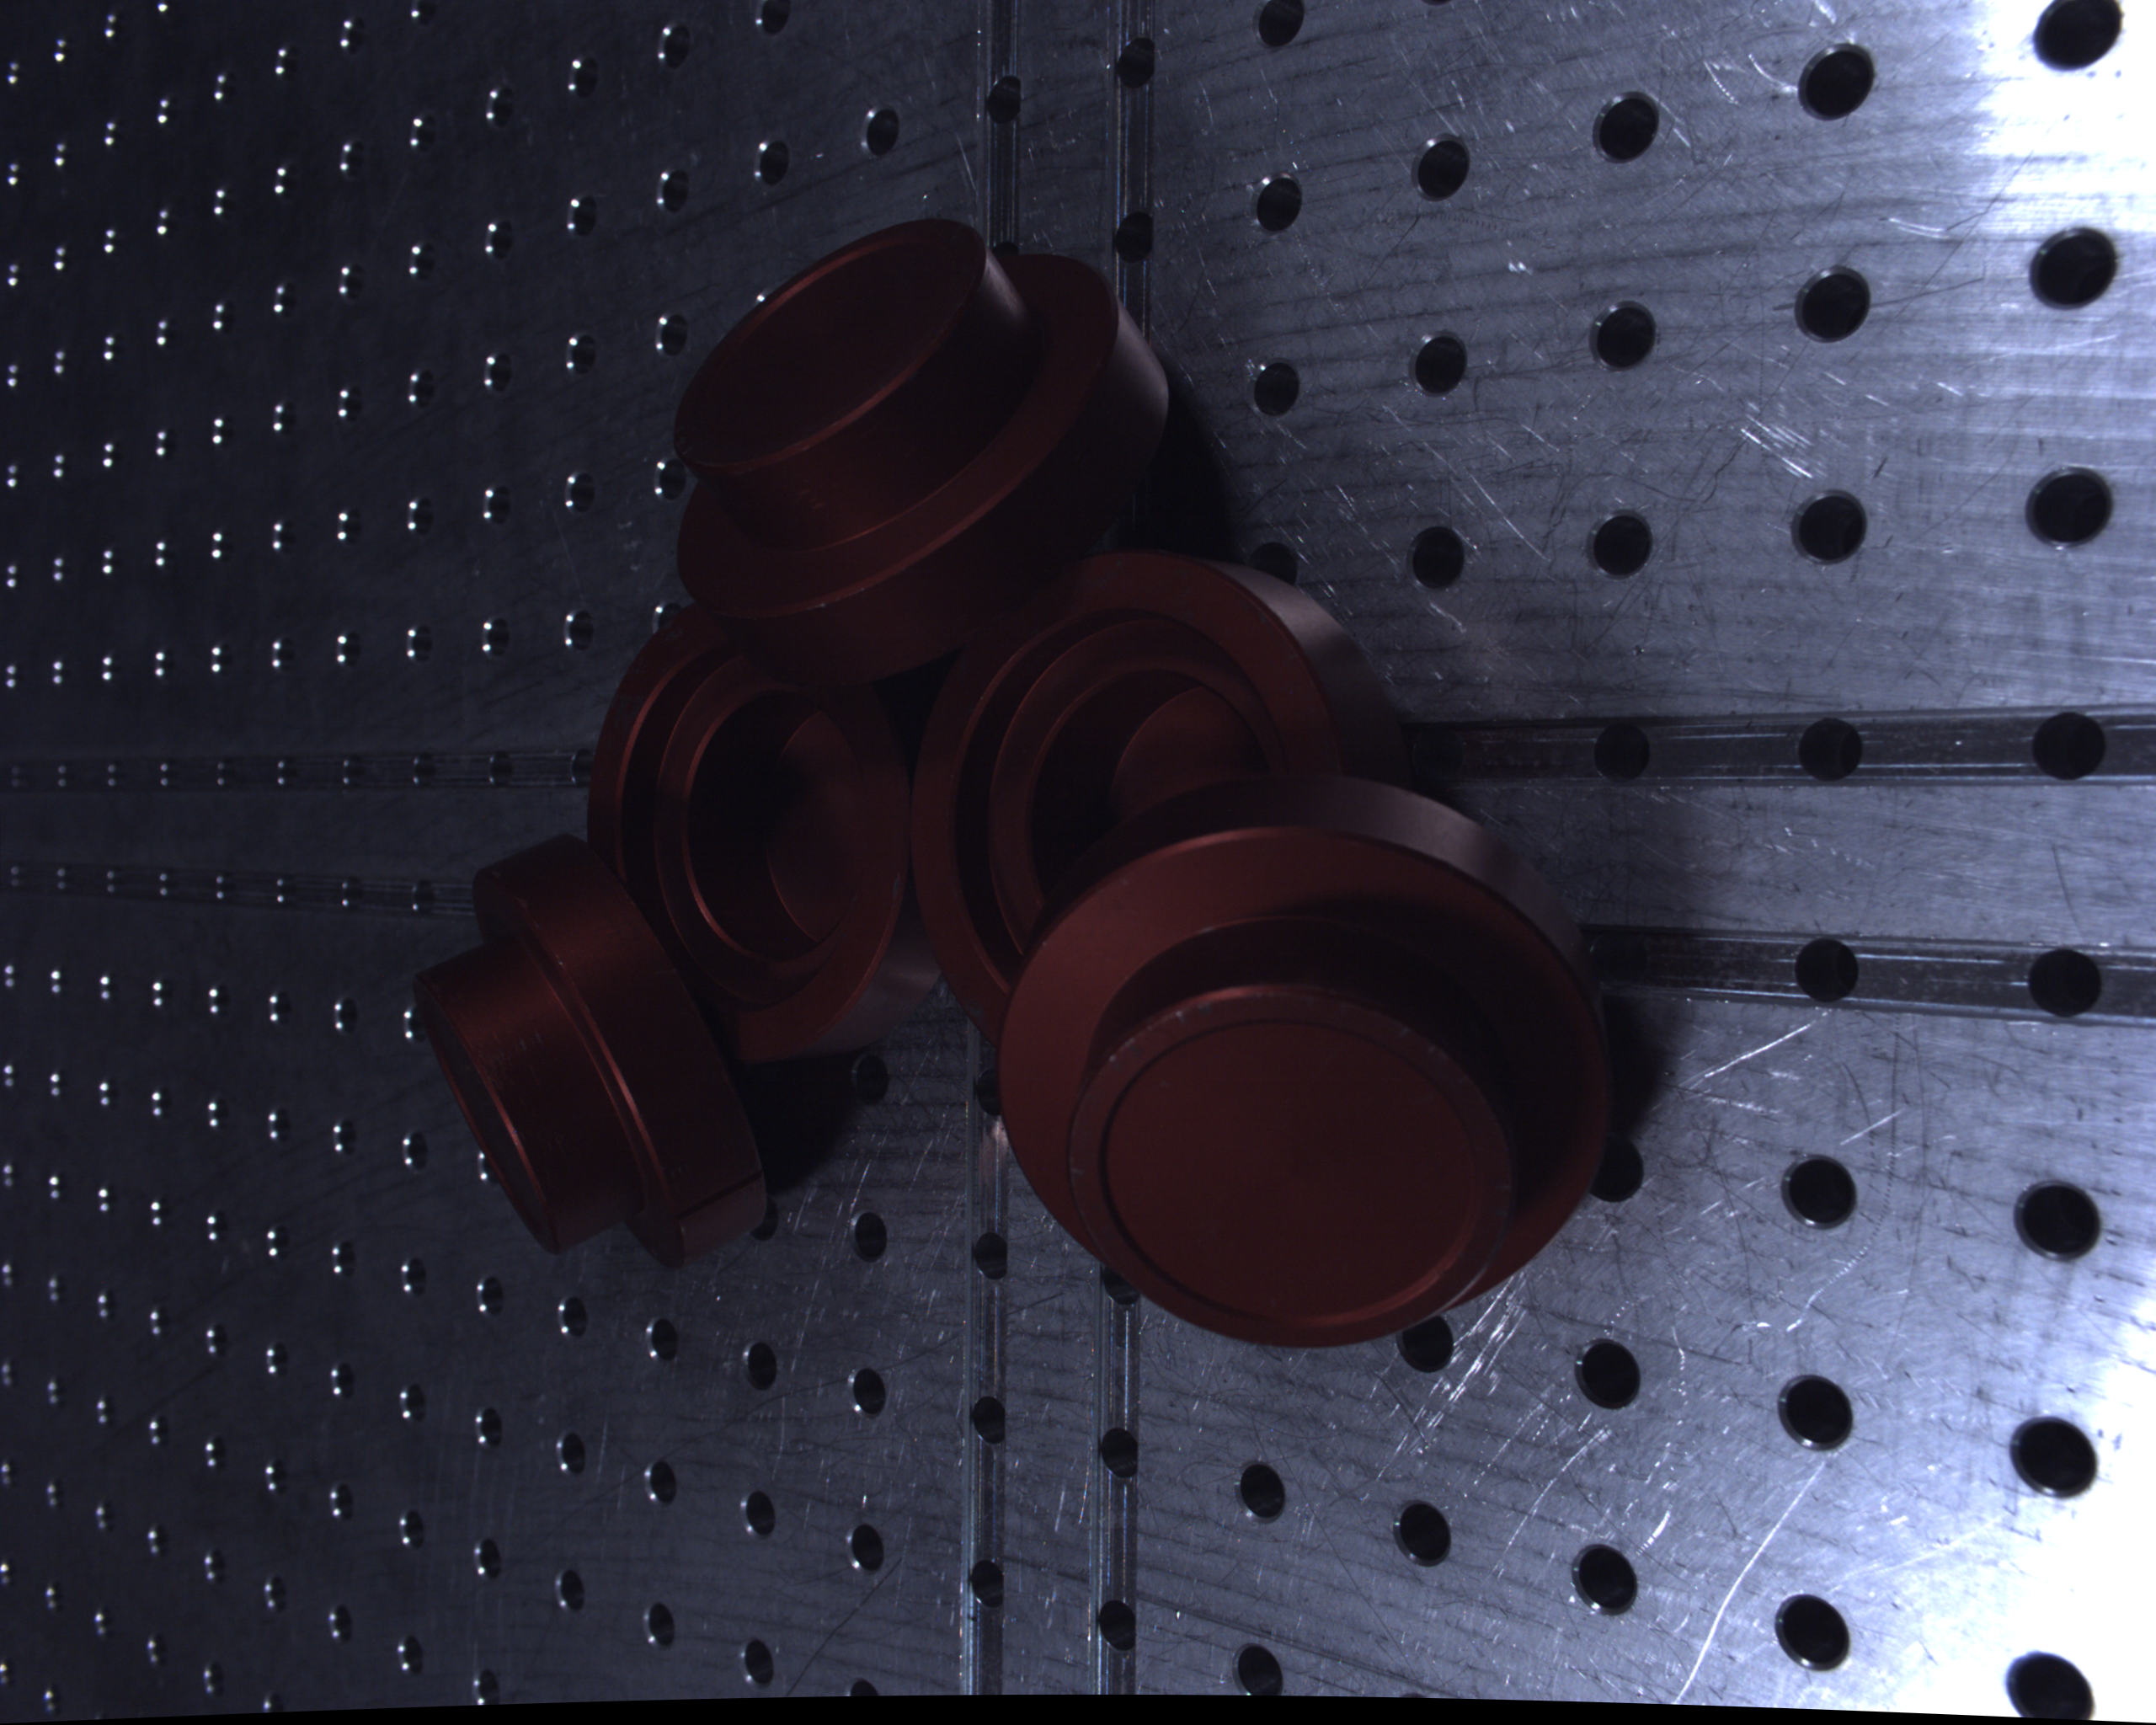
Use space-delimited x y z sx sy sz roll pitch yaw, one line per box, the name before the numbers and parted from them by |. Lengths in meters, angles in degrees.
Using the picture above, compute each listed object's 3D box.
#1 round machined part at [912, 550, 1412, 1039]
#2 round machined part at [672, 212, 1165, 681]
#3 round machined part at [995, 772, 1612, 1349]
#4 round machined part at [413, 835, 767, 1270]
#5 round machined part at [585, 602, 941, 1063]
round machined part | 0.019 -0.006 0.380 0.098 0.042 0.097 0 90 39
round machined part | -0.036 -0.084 0.393 0.098 0.042 0.098 -22 41 21
round machined part | 0.035 0.038 0.333 0.098 0.042 0.097 4 118 9
round machined part | -0.111 0.047 0.457 0.098 0.042 0.097 46 152 35
round machined part | -0.057 -0.008 0.442 0.098 0.042 0.097 0 90 39
